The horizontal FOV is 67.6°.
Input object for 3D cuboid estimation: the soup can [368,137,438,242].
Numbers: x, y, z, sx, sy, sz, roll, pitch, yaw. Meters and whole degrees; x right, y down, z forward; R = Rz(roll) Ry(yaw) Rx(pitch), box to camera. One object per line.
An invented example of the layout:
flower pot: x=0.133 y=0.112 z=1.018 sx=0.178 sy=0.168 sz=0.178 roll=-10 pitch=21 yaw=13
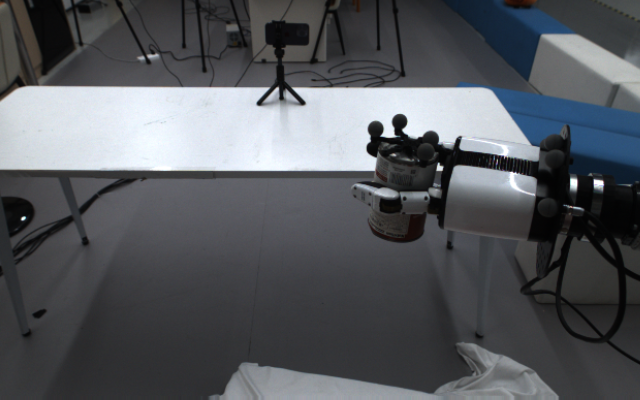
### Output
soup can: x=0.095 y=-0.012 z=0.552 sx=0.067 sy=0.101 sz=0.067 roll=3 pitch=30 yaw=-2
